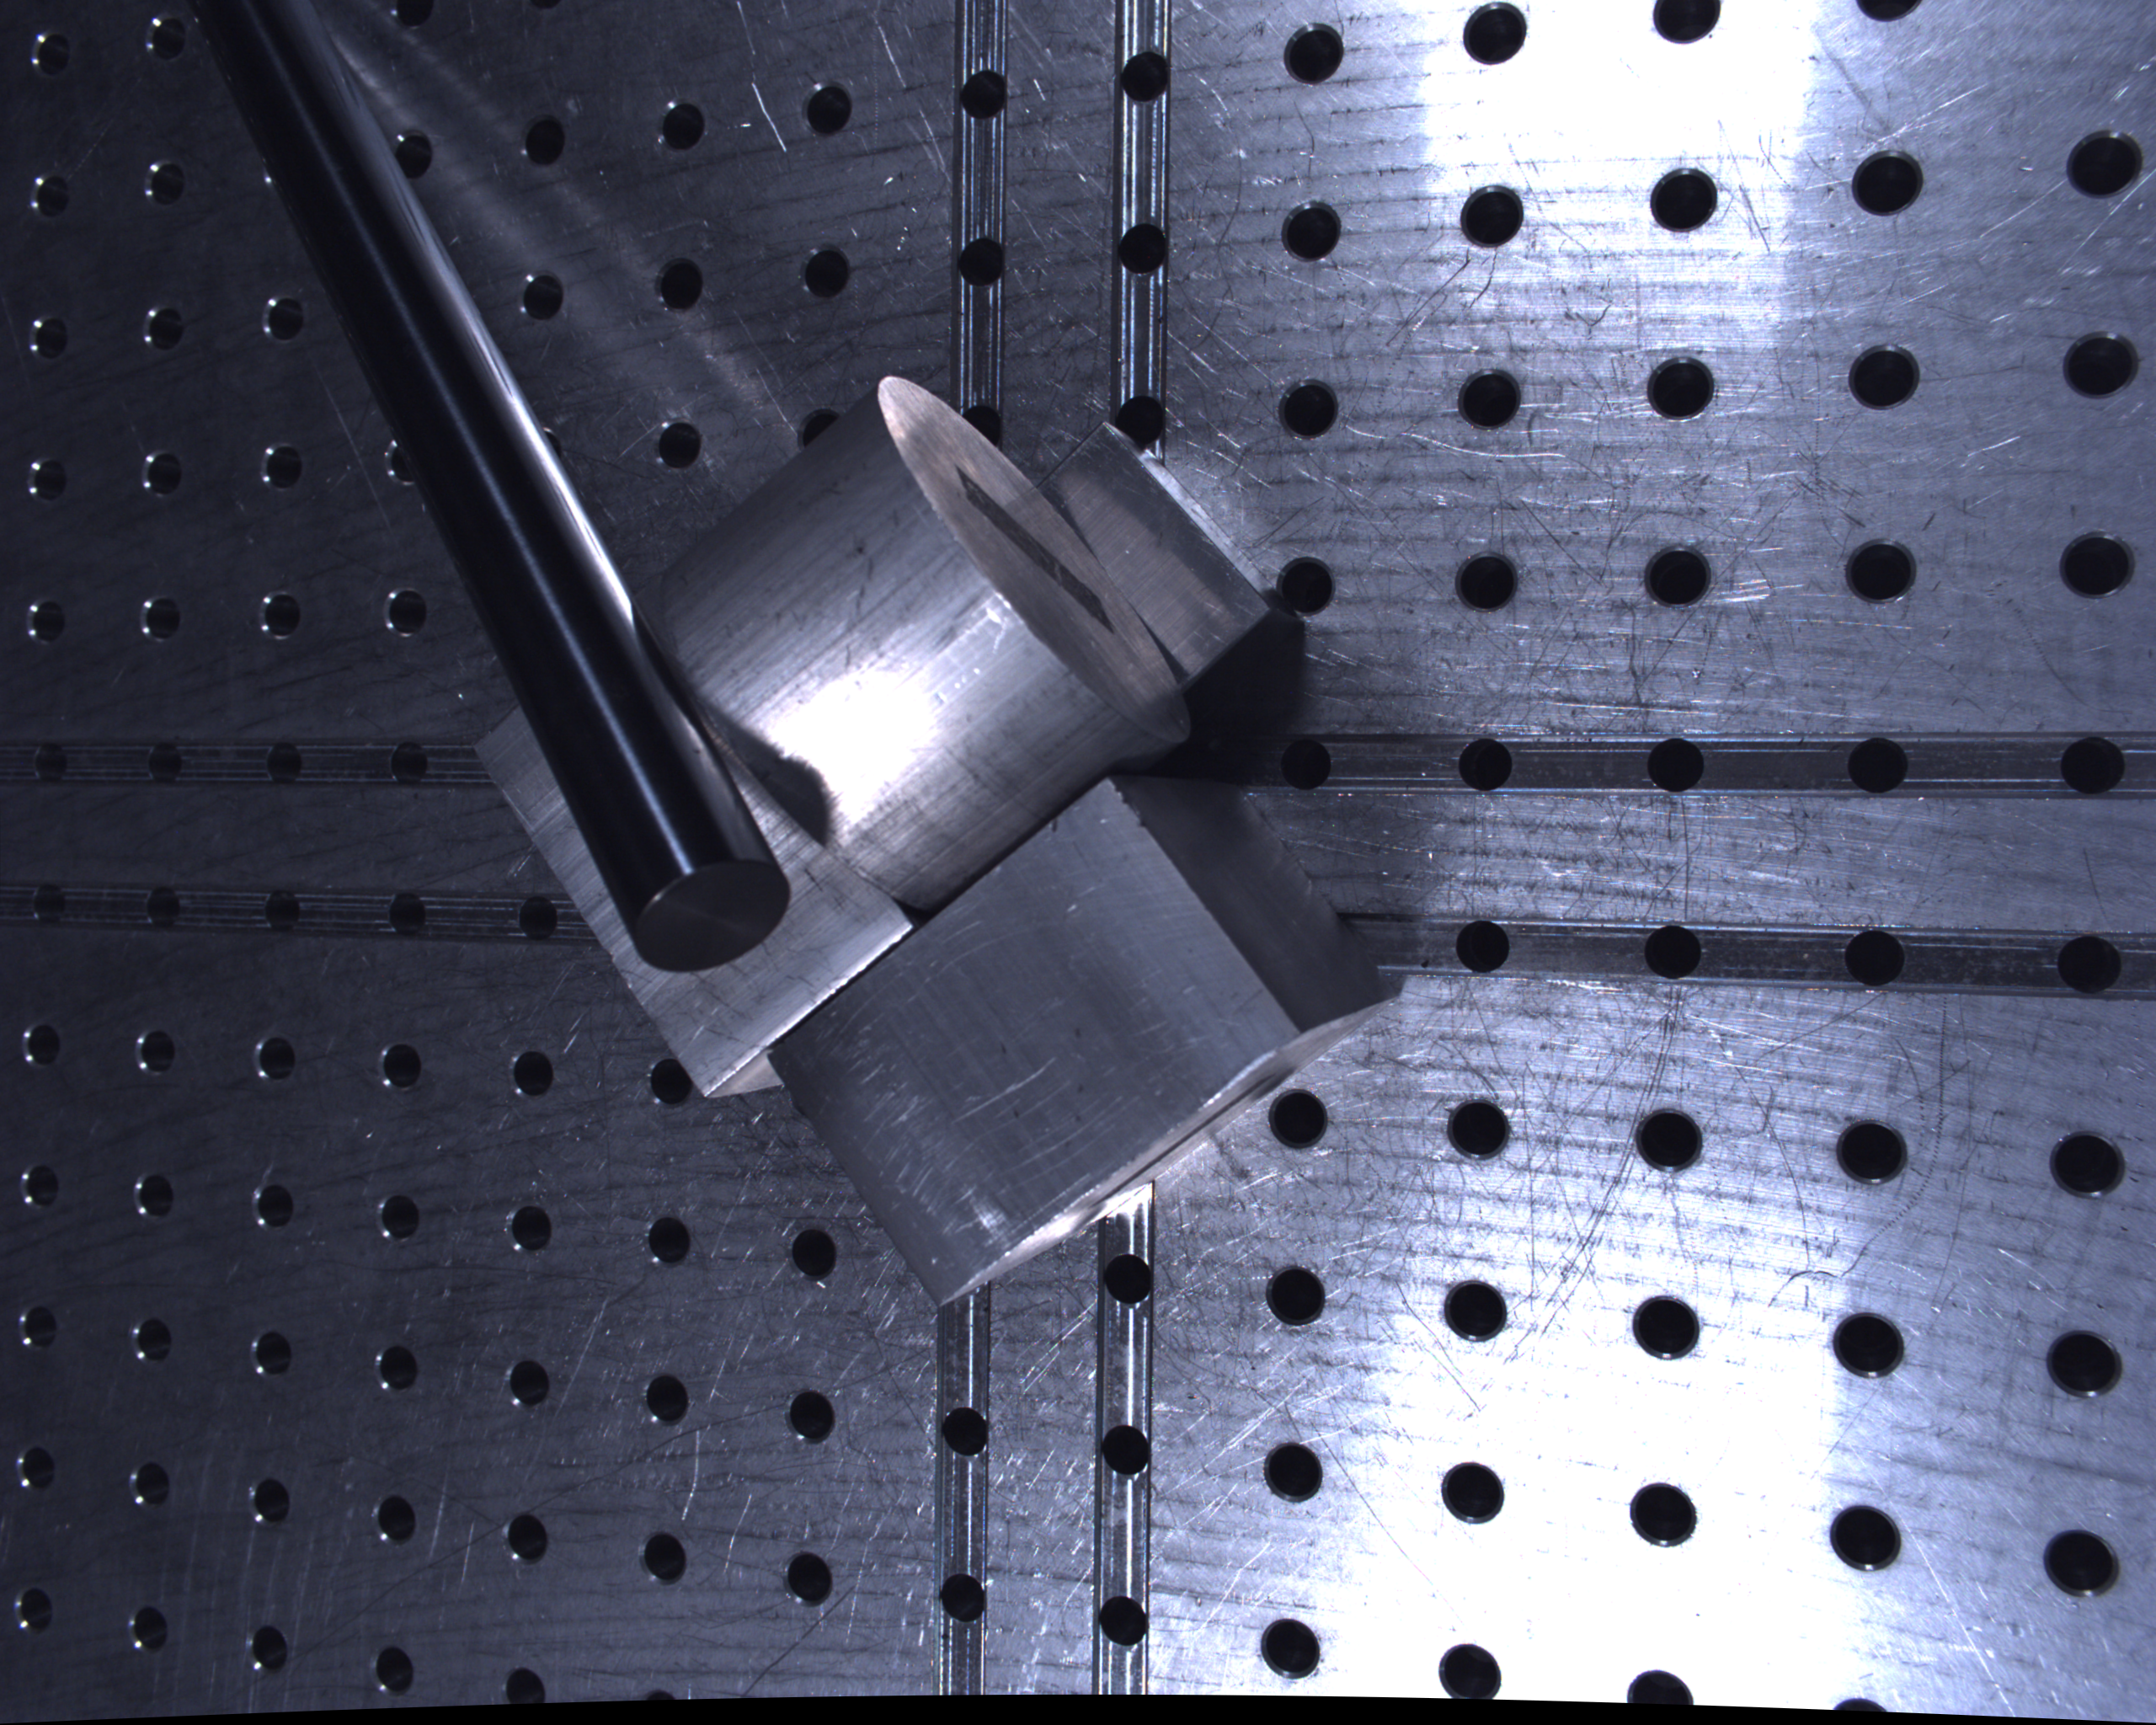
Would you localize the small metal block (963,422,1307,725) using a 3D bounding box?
[{"bbox_3d":[0.007,-0.049,0.410,0.050,0.025,0.050,-43,77,14],"label":"small metal block"}]

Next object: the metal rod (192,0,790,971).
[{"bbox_3d":[-0.124,-0.097,0.399,0.025,0.025,0.300,-43,56,15],"label":"metal rod"}]

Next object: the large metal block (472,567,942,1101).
[{"bbox_3d":[-0.055,-0.005,0.402,0.050,0.080,0.080,-39,78,16],"label":"large metal block"}]

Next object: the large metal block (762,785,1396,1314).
[{"bbox_3d":[0.004,0.031,0.379,0.080,0.080,0.050,-39,78,15],"label":"large metal block"}]

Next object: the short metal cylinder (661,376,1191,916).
[{"bbox_3d":[-0.025,-0.037,0.364,0.050,0.080,0.080,-38,78,16],"label":"short metal cylinder"}]
